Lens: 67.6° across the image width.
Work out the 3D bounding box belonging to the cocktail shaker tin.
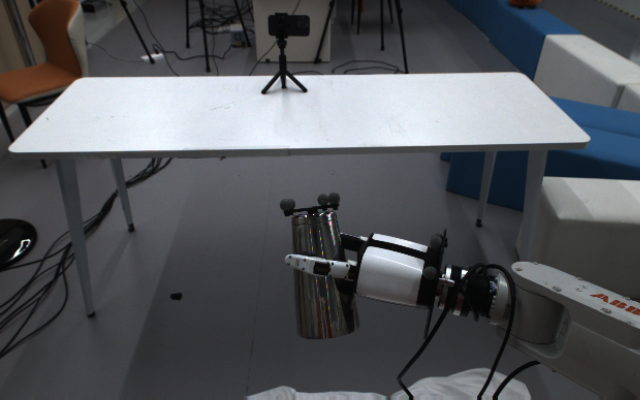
[{"bbox_3d":[0.002,0.104,0.704,0.093,0.170,0.093,-8,1,0],"label":"cocktail shaker tin"}]
